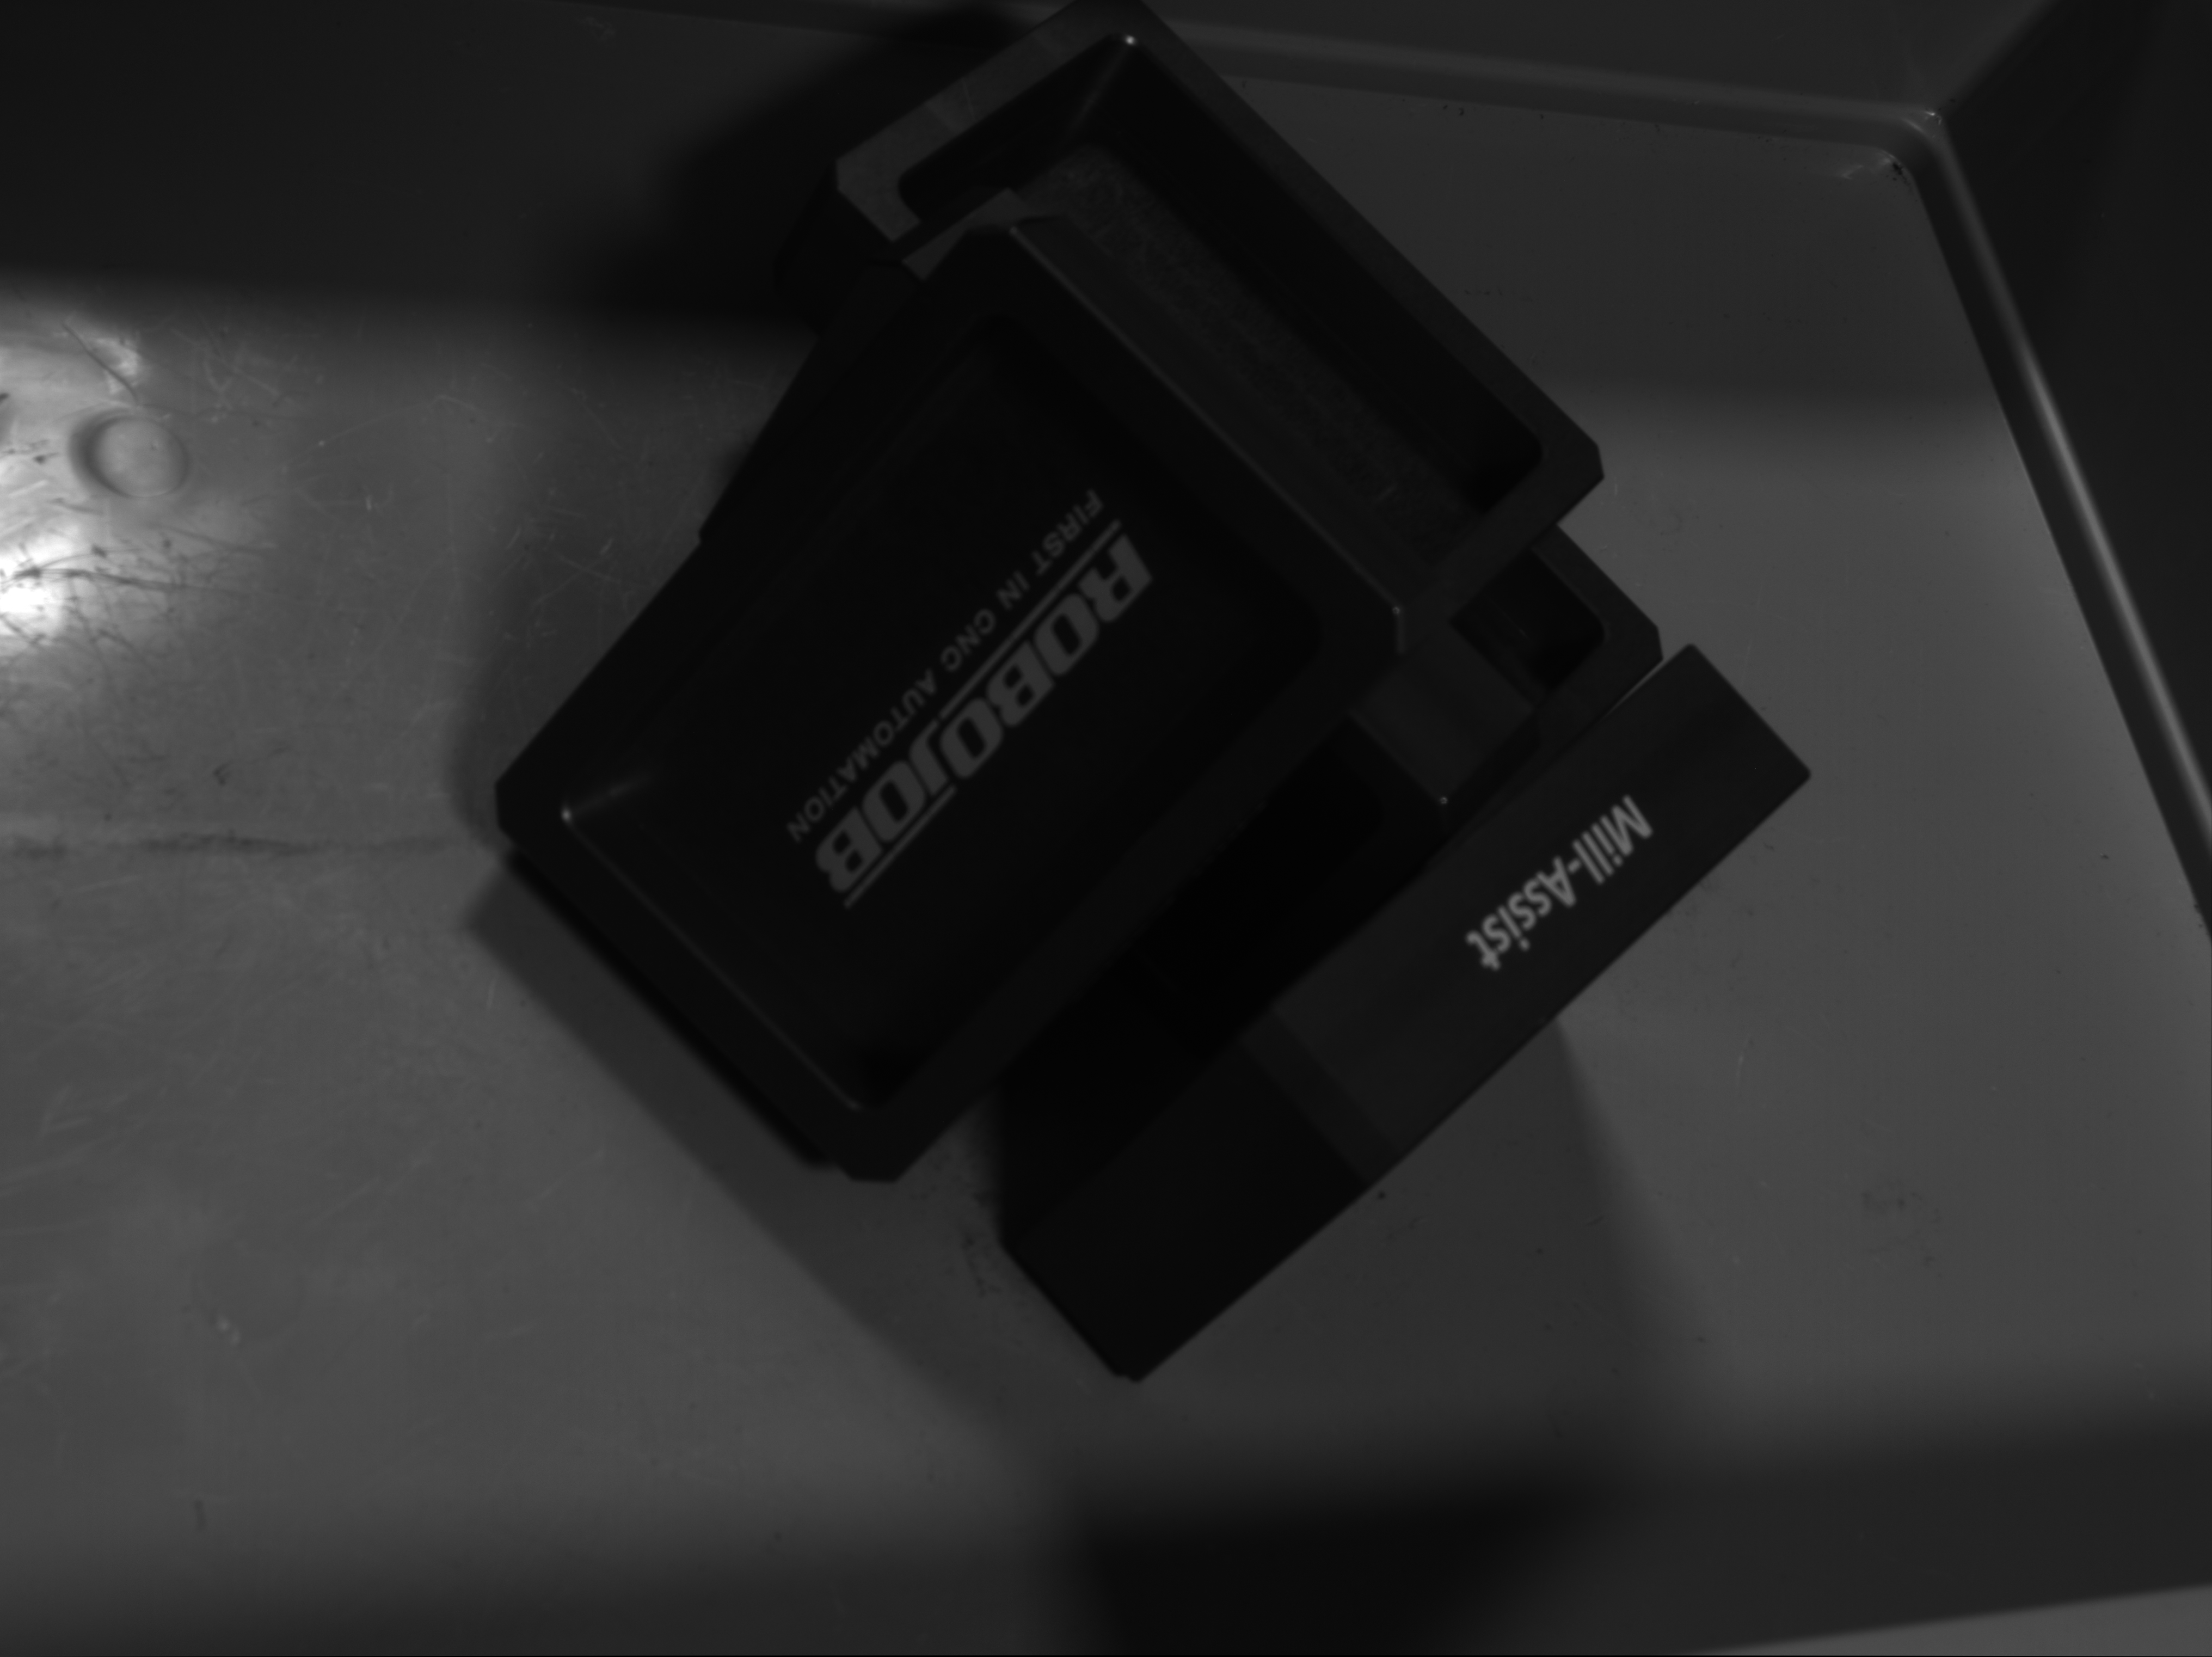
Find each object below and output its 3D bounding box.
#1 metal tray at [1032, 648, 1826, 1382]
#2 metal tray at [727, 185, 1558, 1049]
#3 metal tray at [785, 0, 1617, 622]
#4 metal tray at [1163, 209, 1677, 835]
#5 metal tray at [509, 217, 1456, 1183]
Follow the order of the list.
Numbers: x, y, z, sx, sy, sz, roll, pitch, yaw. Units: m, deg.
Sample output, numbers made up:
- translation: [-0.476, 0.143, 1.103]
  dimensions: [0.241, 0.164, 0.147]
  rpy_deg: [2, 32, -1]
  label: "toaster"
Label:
- translation: [0.054, 0.030, 0.607]
  dimensions: [0.030, 0.090, 0.130]
  rpy_deg: [48, 51, 6]
  label: "metal tray"
- translation: [0.003, -0.033, 0.617]
  dimensions: [0.130, 0.090, 0.030]
  rpy_deg: [45, 51, 3]
  label: "metal tray"
- translation: [0.018, -0.082, 0.656]
  dimensions: [0.130, 0.030, 0.090]
  rpy_deg: [45, 51, 4]
  label: "metal tray"
- translation: [0.034, -0.052, 0.687]
  dimensions: [0.130, 0.030, 0.090]
  rpy_deg: [47, 53, 6]
  label: "metal tray"
- translation: [-0.021, -0.019, 0.573]
  dimensions: [0.090, 0.130, 0.030]
  rpy_deg: [45, 21, 3]
  label: "metal tray"
